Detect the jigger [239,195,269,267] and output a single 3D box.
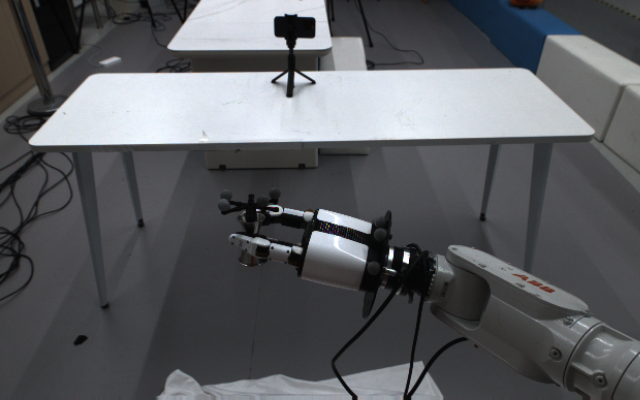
[{"bbox_3d":[-0.098,0.056,0.700,0.043,0.071,0.043,0,21,0],"label":"jigger"}]
